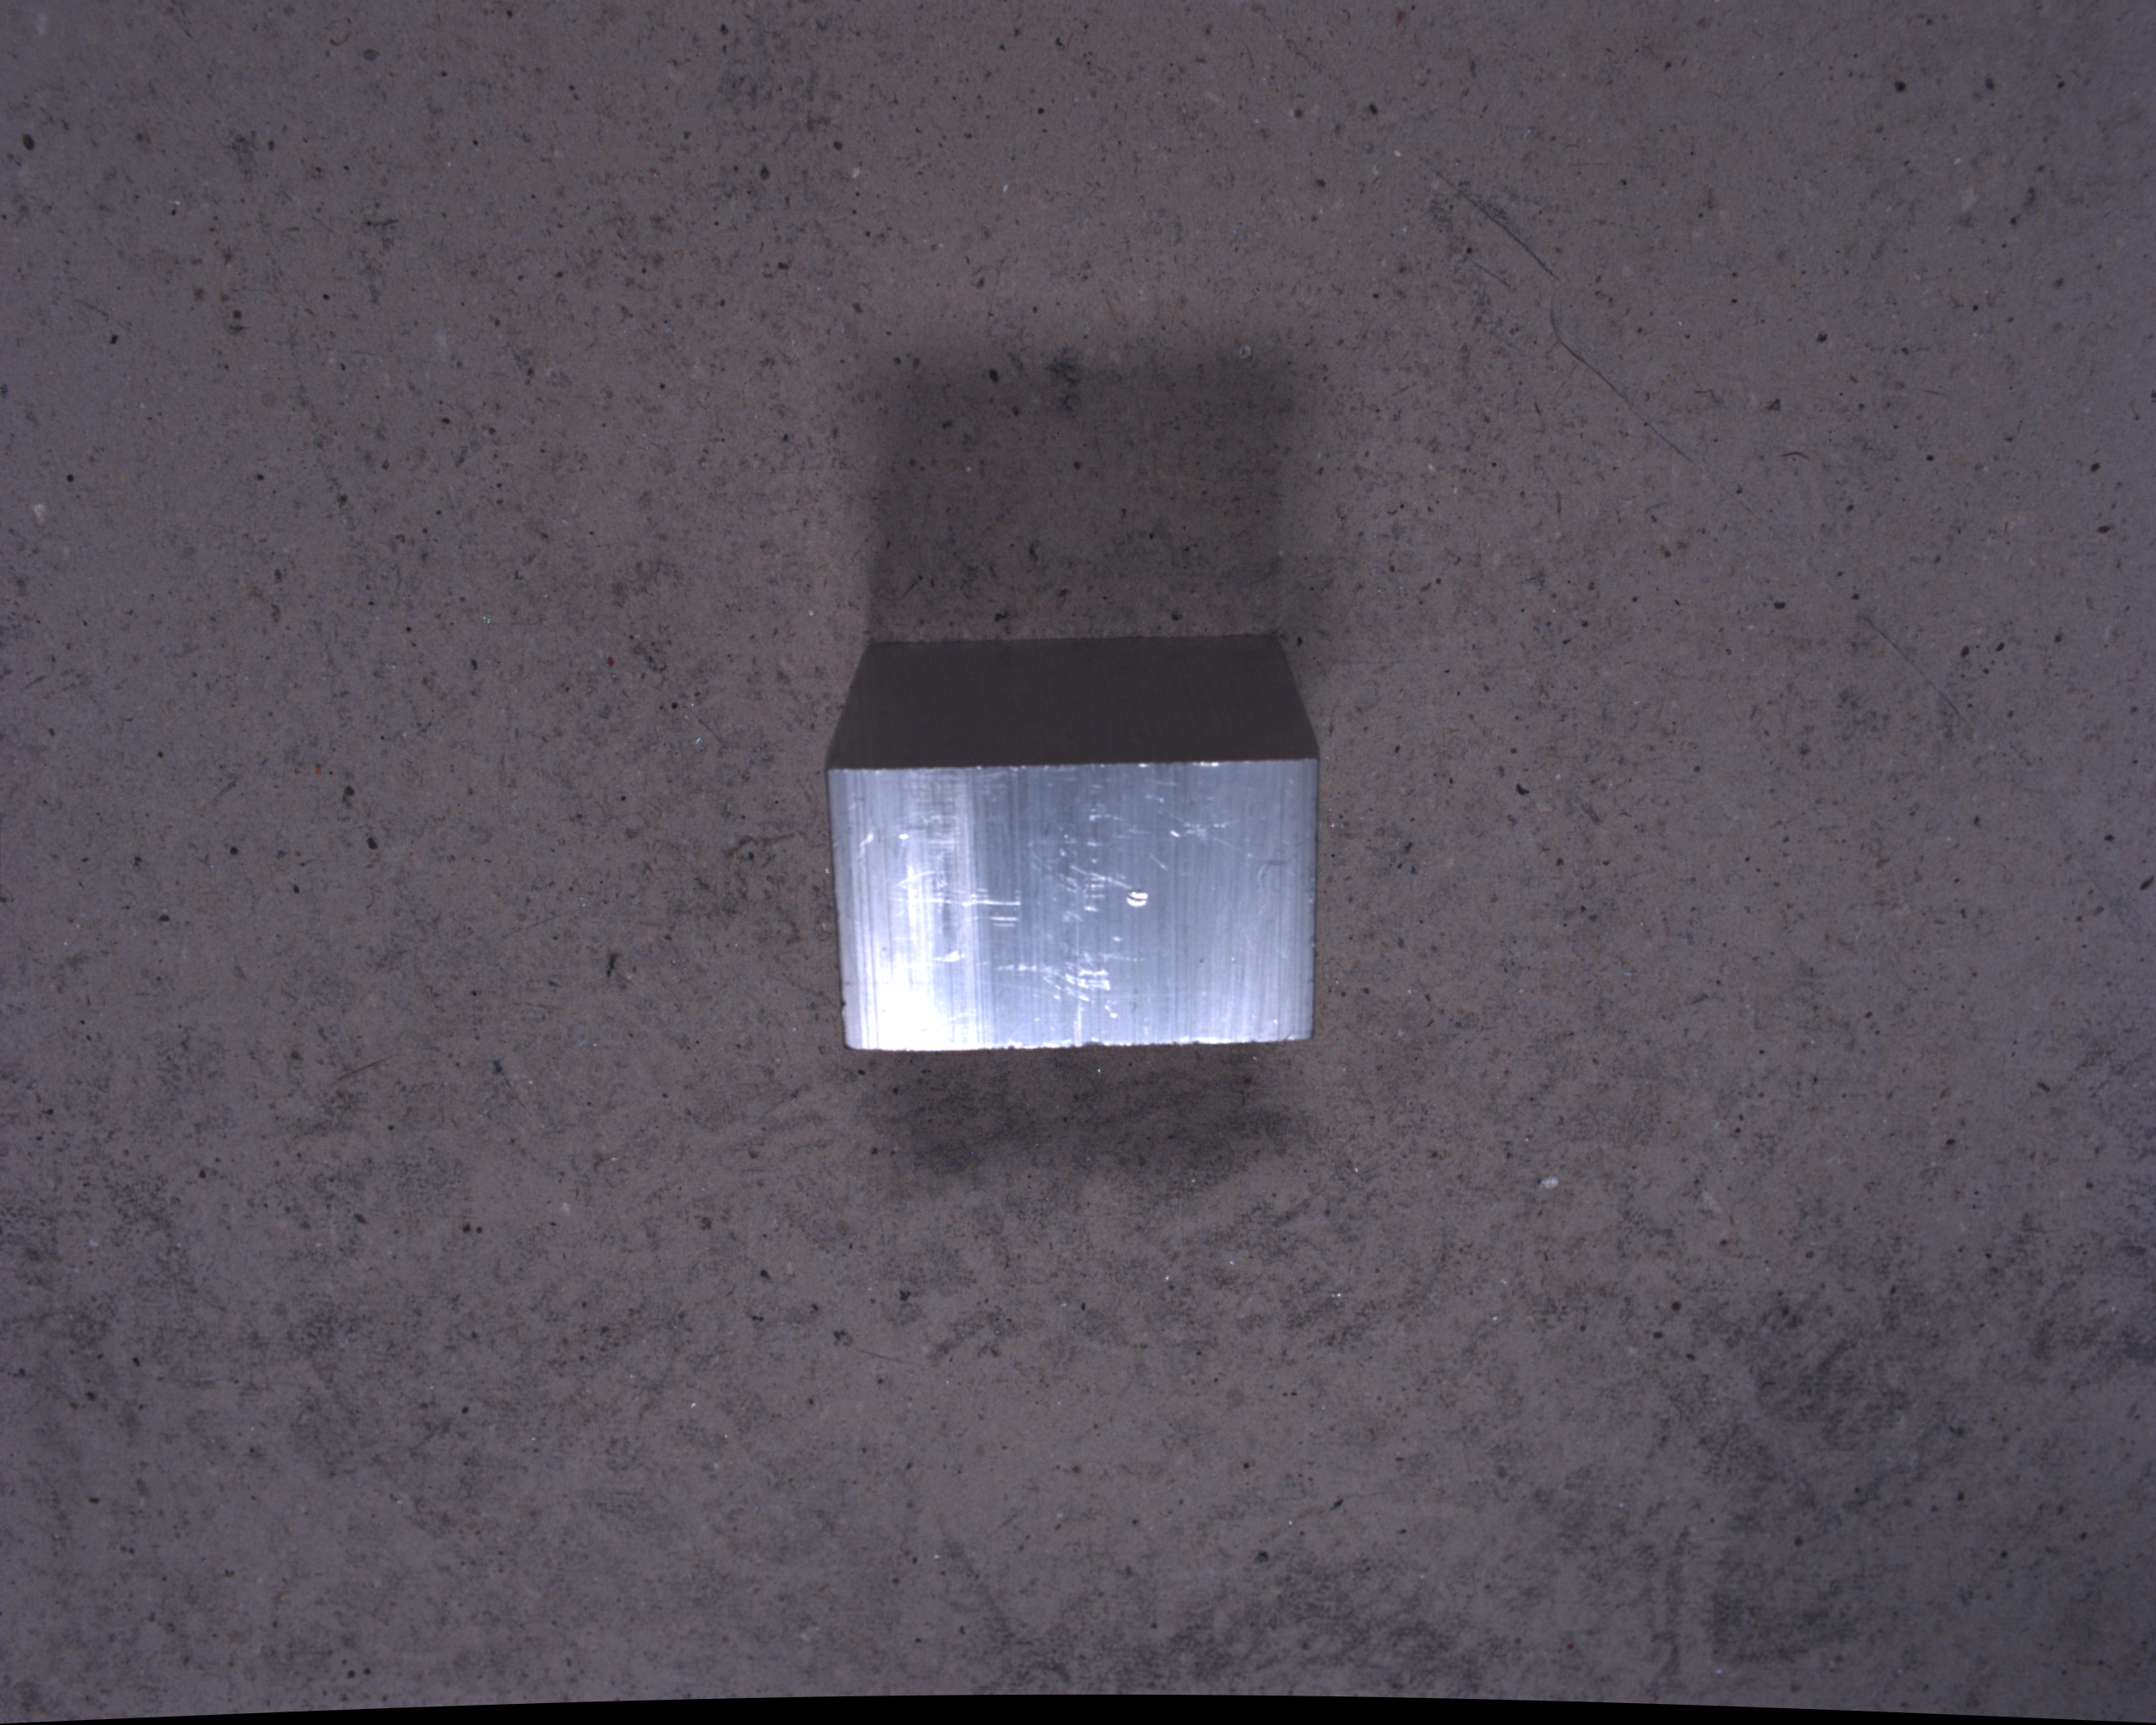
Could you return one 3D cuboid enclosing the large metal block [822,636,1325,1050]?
[{"bbox_3d":[0.000,-0.006,0.380,0.081,0.080,0.050,-1,110,0],"label":"large metal block"}]
